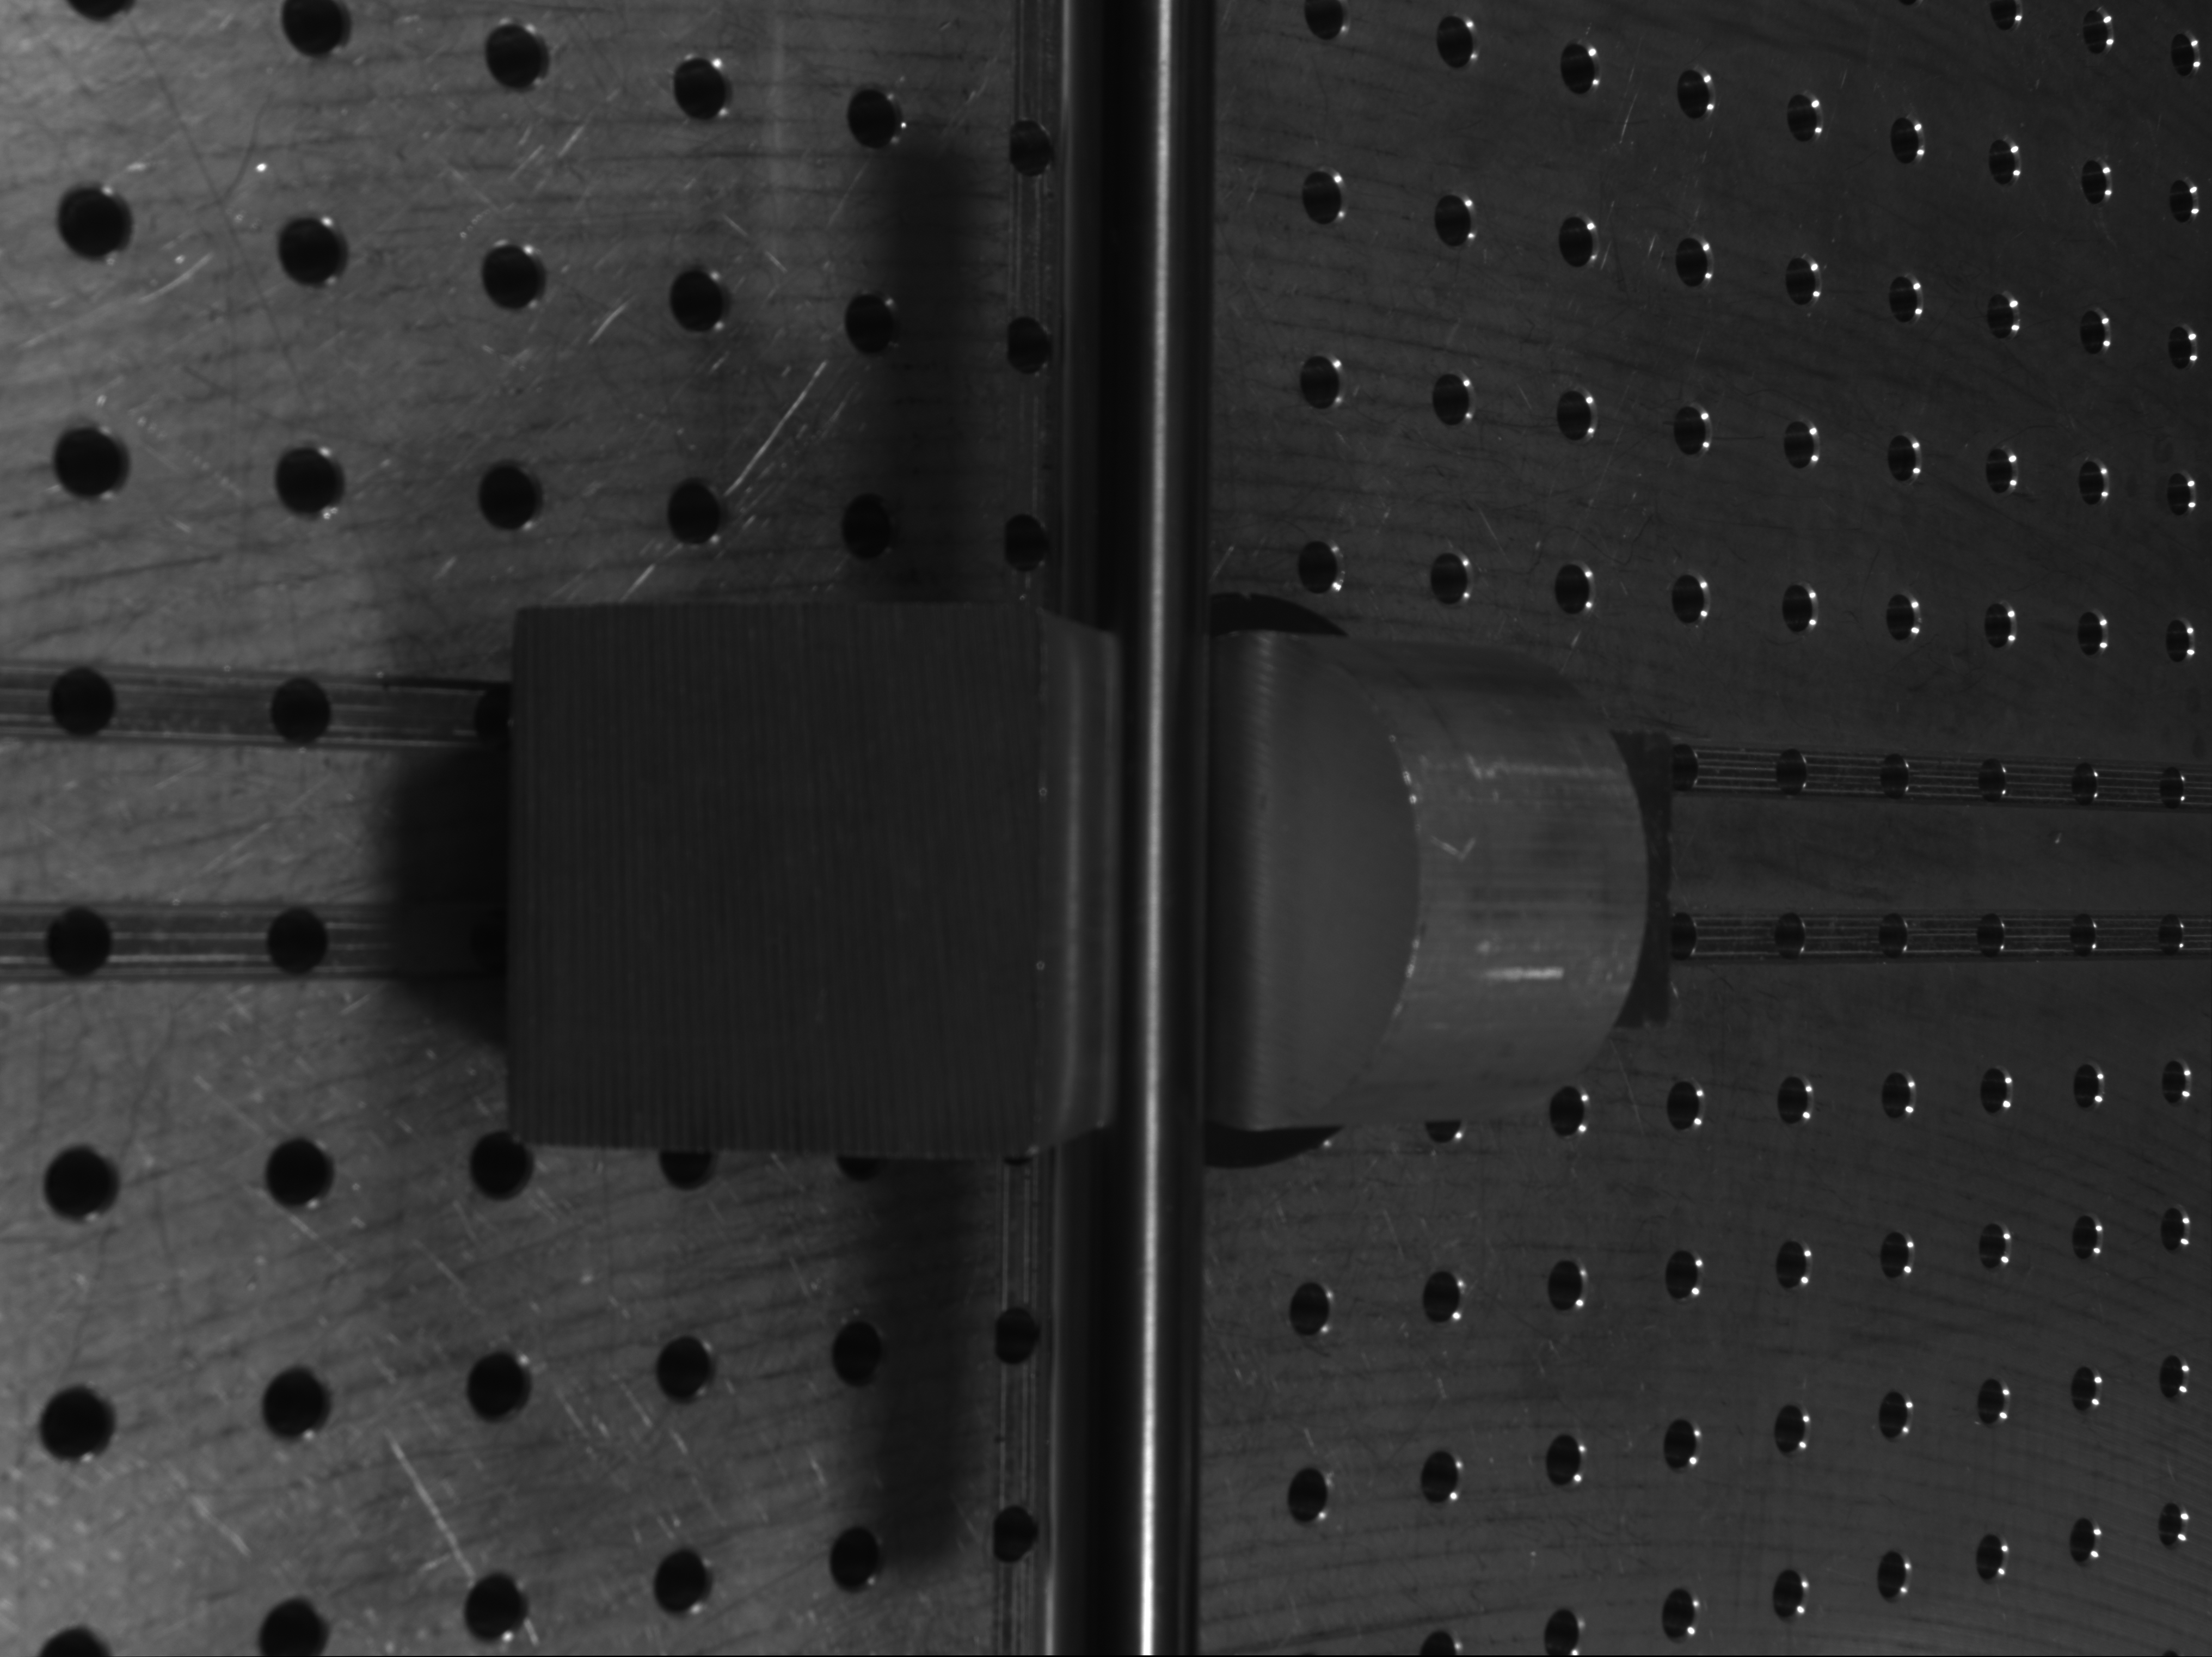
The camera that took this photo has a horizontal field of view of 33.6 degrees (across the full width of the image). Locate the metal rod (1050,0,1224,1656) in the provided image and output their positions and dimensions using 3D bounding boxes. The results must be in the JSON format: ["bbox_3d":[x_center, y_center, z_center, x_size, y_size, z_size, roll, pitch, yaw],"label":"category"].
[{"bbox_3d":[0.005,0.001,0.591,0.025,0.025,0.300,1,89,-40],"label":"metal rod"}]

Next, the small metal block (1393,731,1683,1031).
[{"bbox_3d":[0.071,0.009,0.629,0.025,0.050,0.050,2,89,-40],"label":"small metal block"}]

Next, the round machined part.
[{"bbox_3d":[0.014,0.009,0.639,0.098,0.042,0.098,0,90,-40],"label":"round machined part"}]

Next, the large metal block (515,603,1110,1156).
[{"bbox_3d":[-0.043,0.007,0.561,0.050,0.080,0.080,5,85,-81],"label":"large metal block"}]

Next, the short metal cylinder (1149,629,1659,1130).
[{"bbox_3d":[0.044,0.008,0.602,0.050,0.080,0.080,1,89,-40],"label":"short metal cylinder"}]
